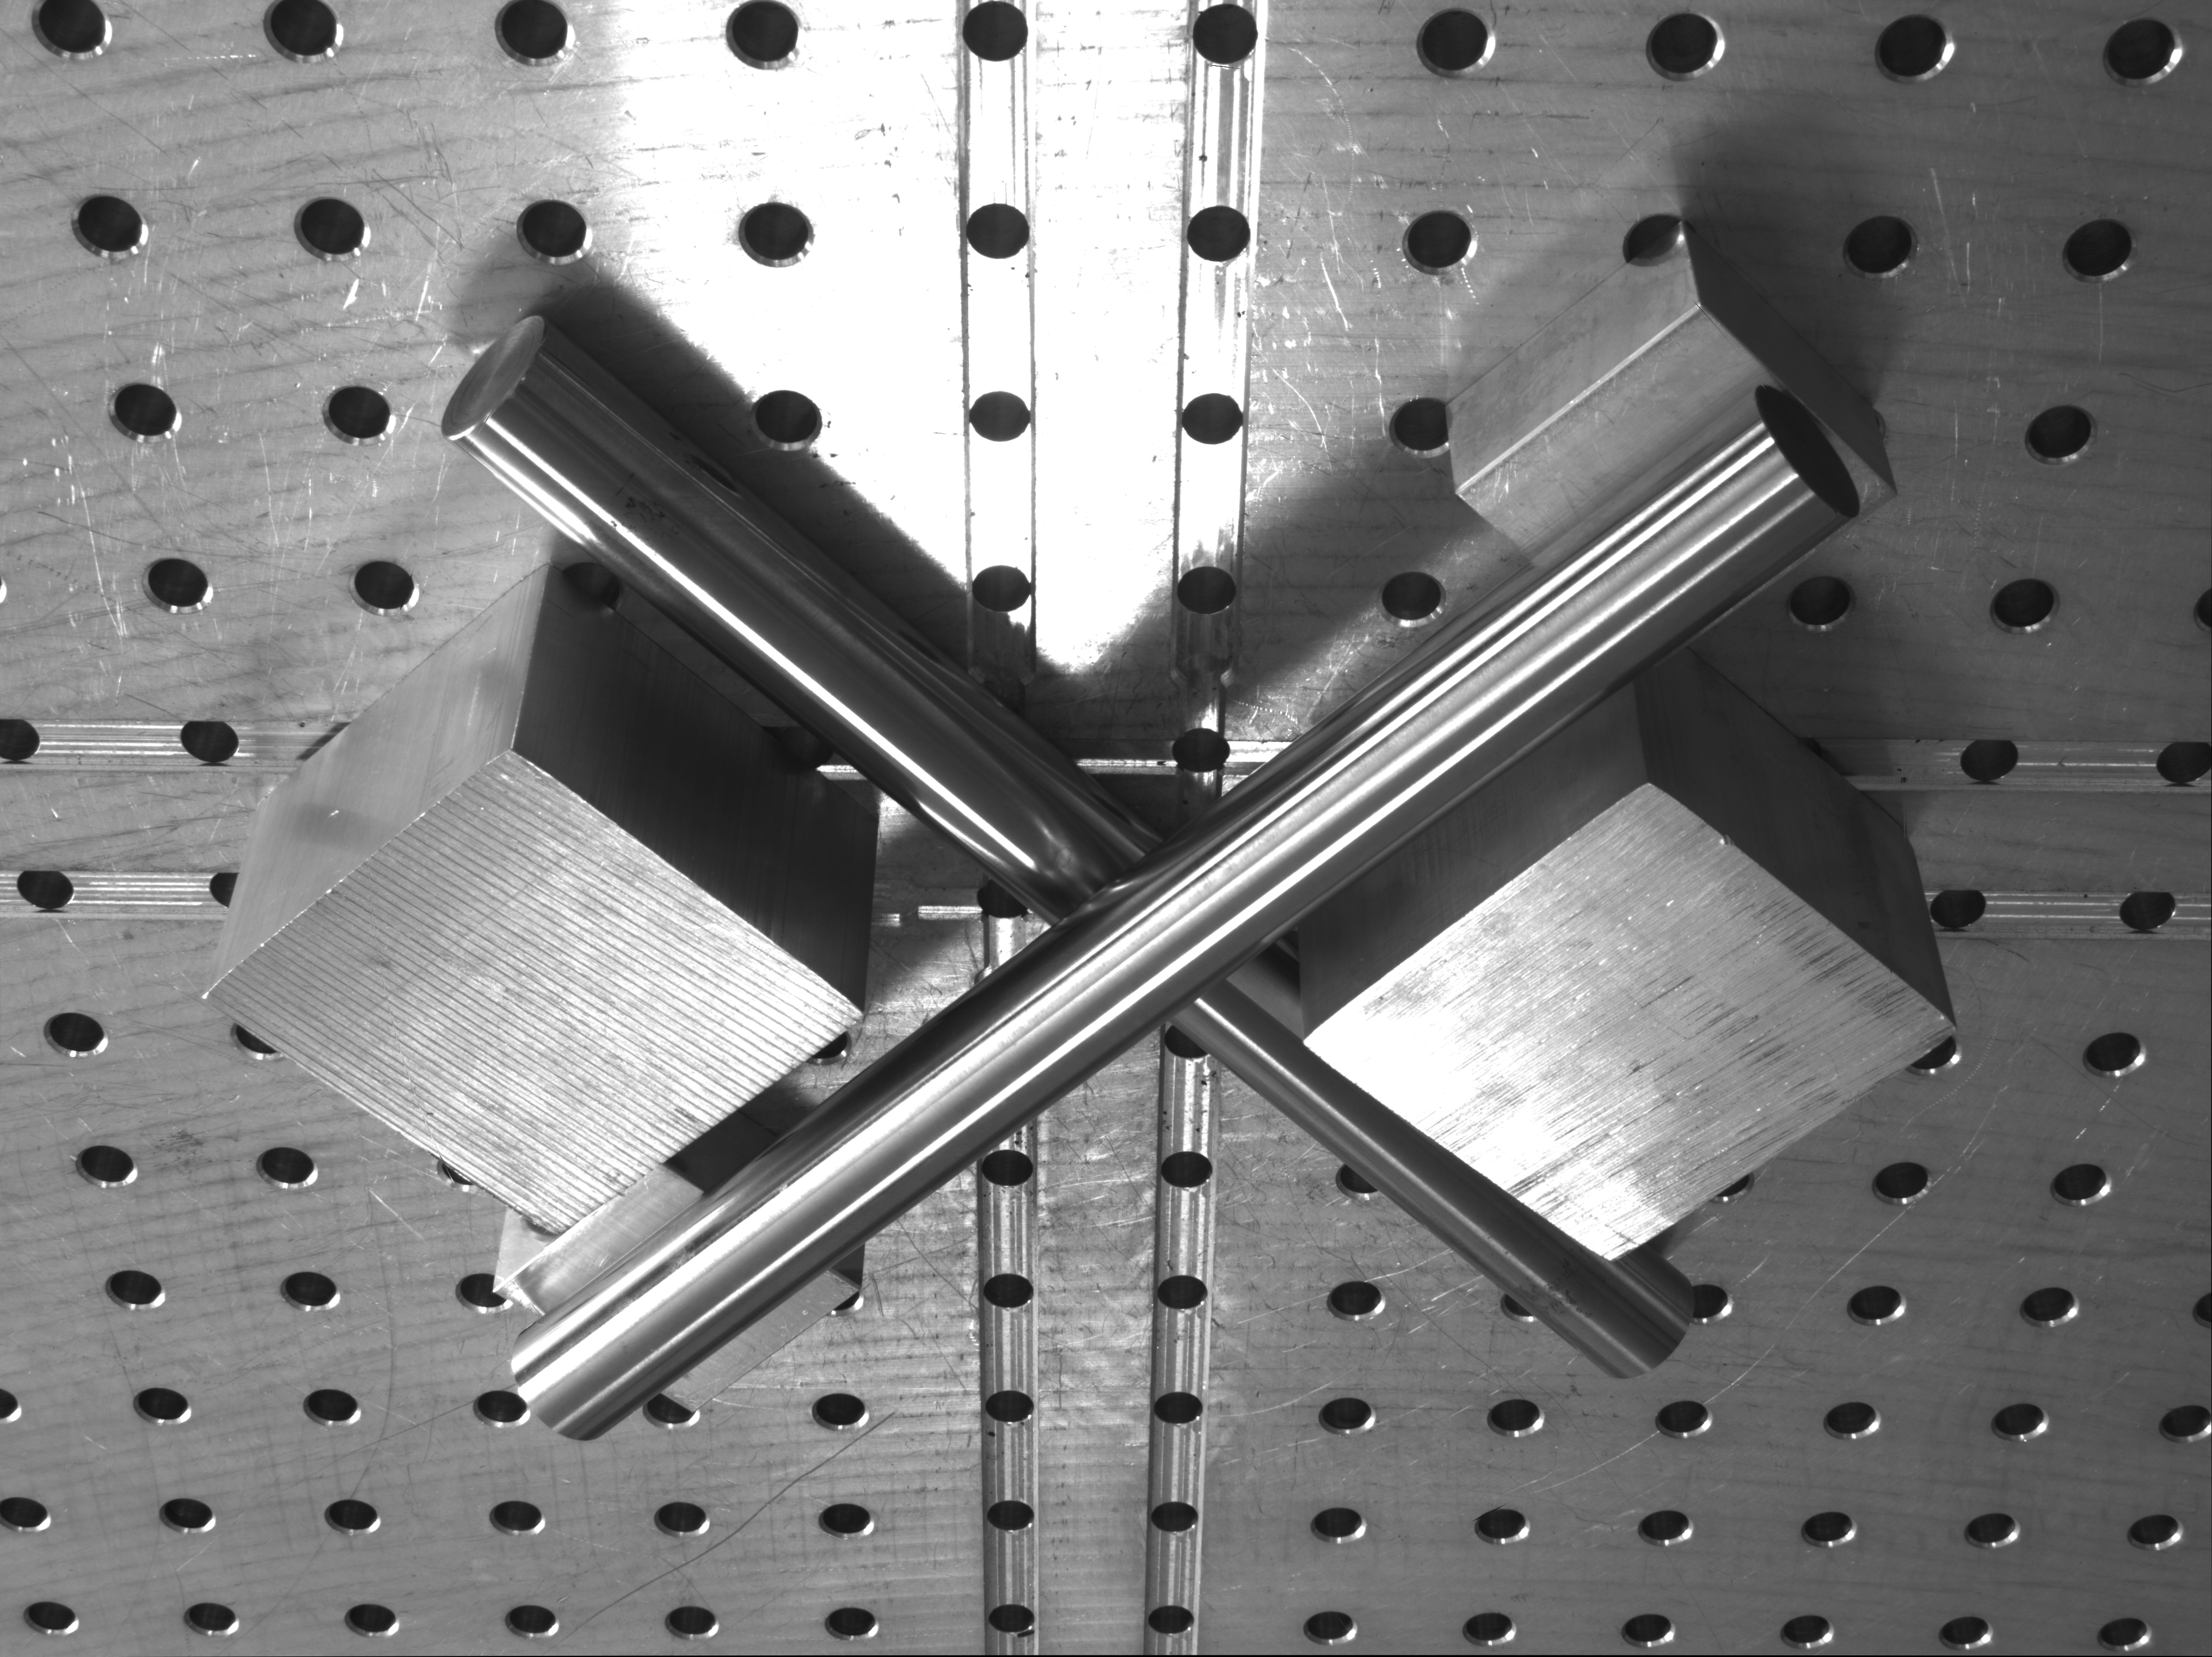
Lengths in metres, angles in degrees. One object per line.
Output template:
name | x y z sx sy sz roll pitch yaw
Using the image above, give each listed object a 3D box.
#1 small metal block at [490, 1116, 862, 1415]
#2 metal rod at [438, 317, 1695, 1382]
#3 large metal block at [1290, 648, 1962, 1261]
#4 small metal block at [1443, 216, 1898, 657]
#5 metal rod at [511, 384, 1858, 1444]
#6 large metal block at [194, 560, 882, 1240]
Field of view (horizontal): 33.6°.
small metal block | -0.082 0.080 0.709 0.050 0.025 0.050 37 121 -27
metal rod | 0.004 0.014 0.652 0.025 0.025 0.301 -35 122 26
large metal block | 0.089 0.018 0.642 0.080 0.050 0.080 35 121 -26
small metal block | 0.091 -0.061 0.592 0.050 0.025 0.050 -37 121 27
metal rod | 0.002 0.024 0.629 0.025 0.025 0.299 37 121 -27
large metal block | -0.097 0.014 0.637 0.080 0.050 0.080 -36 121 26
